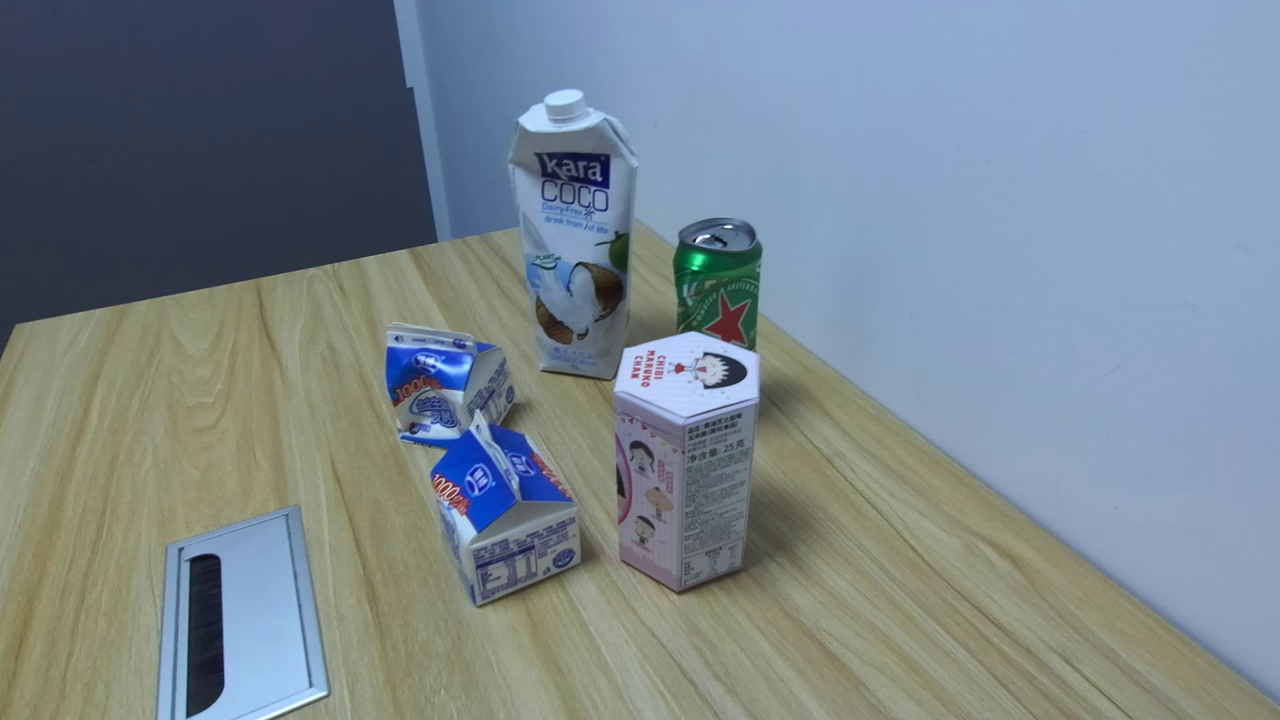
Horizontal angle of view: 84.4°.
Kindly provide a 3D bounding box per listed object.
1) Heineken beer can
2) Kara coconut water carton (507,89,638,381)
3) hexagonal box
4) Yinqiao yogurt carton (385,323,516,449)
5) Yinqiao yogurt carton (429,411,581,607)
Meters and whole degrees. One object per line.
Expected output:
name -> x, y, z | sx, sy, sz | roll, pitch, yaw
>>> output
Heineken beer can -> 0.059, -0.021, 0.532 | 0.078, 0.164, 0.066 | -10, 33, -11
Kara coconut water carton -> -0.052, -0.100, 0.584 | 0.115, 0.239, 0.069 | 8, 36, 13
hexagonal box -> 0.027, 0.062, 0.432 | 0.084, 0.136, 0.091 | 4, 34, 6
Yinqiao yogurt carton -> -0.150, 0.013, 0.550 | 0.077, 0.094, 0.071 | 8, 39, 15
Yinqiao yogurt carton -> -0.085, 0.086, 0.442 | 0.074, 0.092, 0.075 | -17, 38, -24
